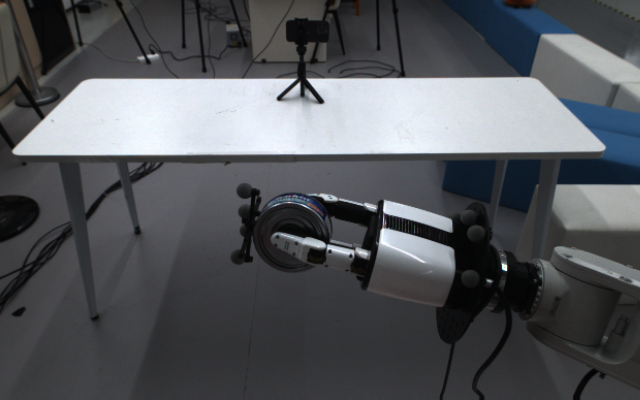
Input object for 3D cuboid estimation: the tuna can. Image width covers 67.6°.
[{"bbox_3d":[-0.026,0.040,0.535,0.085,0.085,0.034,4,18,3],"label":"tuna can"}]
